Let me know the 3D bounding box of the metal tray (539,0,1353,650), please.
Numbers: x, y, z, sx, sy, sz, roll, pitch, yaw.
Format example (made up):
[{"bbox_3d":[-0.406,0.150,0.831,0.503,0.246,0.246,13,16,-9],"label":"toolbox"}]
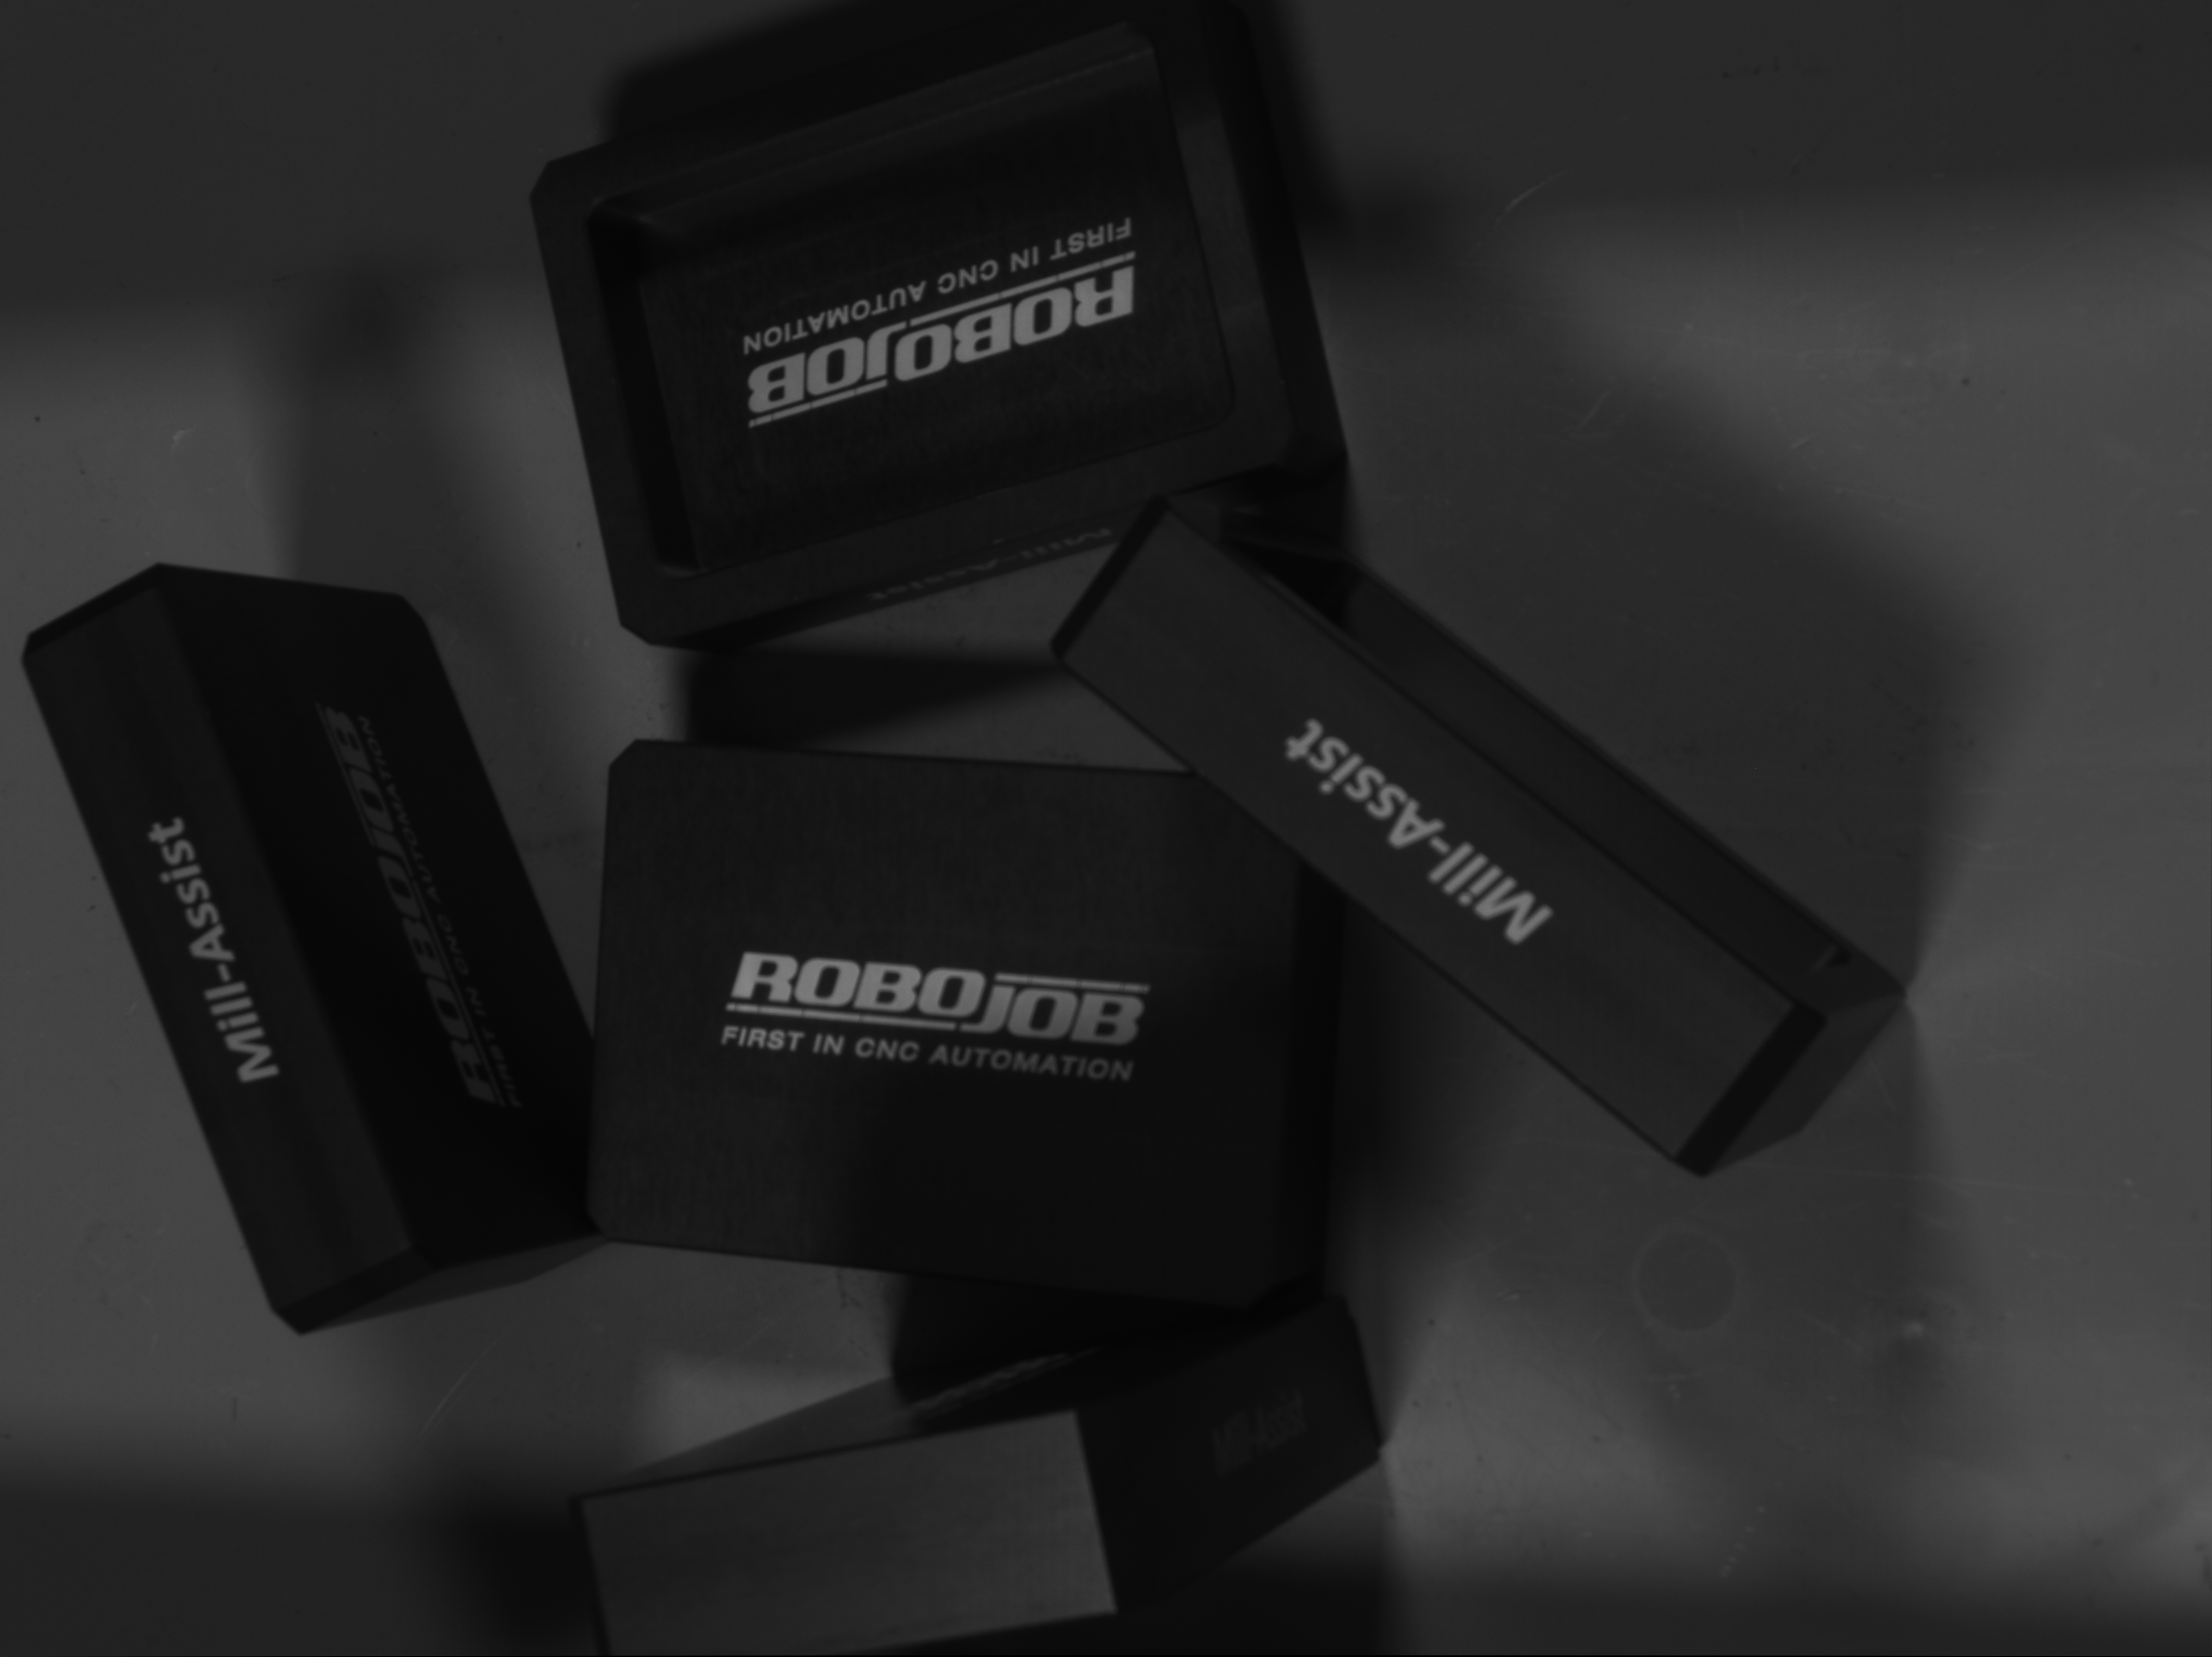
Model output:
[{"bbox_3d":[-0.030,-0.091,0.651,0.130,0.030,0.090,-14,85,19],"label":"metal tray"}]

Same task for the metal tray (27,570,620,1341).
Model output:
[{"bbox_3d":[-0.134,0.021,0.656,0.030,0.090,0.130,-26,82,17],"label":"metal tray"}]

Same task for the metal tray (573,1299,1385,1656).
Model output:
[{"bbox_3d":[-0.016,0.106,0.591,0.090,0.130,0.030,-13,86,19],"label":"metal tray"}]

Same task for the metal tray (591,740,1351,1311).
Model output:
[{"bbox_3d":[-0.024,0.033,0.647,0.130,0.030,0.090,4,91,20],"label":"metal tray"}]

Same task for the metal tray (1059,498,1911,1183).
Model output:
[{"bbox_3d":[0.063,0.000,0.585,0.130,0.090,0.030,40,103,15],"label":"metal tray"}]
